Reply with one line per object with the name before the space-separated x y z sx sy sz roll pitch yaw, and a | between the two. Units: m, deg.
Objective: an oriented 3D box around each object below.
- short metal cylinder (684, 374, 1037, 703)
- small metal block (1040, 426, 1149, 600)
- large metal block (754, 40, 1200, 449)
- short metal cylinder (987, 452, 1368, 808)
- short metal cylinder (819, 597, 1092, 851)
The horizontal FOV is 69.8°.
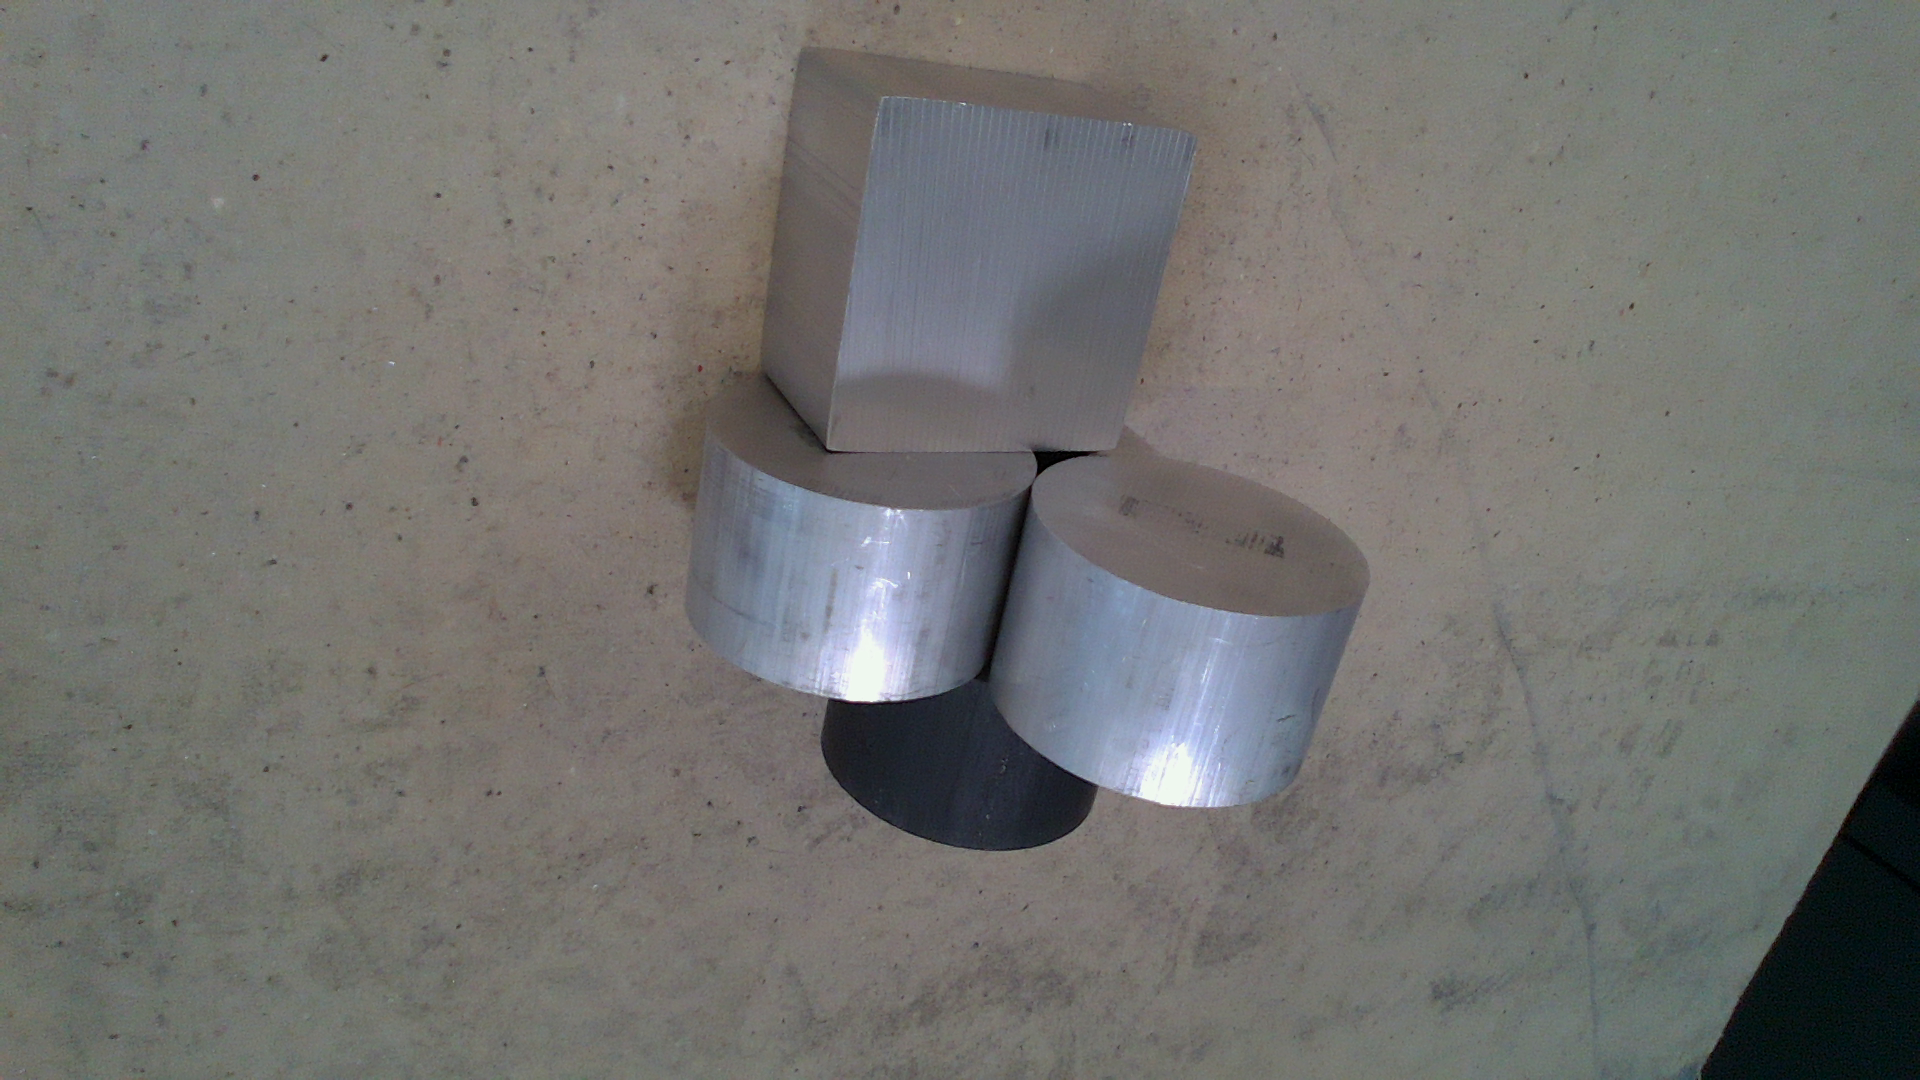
short metal cylinder | -0.025 -0.003 0.339 0.080 0.080 0.050 -2 120 -27
small metal block | 0.025 -0.012 0.382 0.025 0.050 0.050 1 118 -29
large metal block | 0.001 -0.069 0.333 0.080 0.050 0.080 -2 119 -27
short metal cylinder | 0.050 0.019 0.329 0.080 0.080 0.050 -2 120 -27
short metal cylinder | 0.004 0.040 0.382 0.080 0.080 0.050 -1 119 -28
